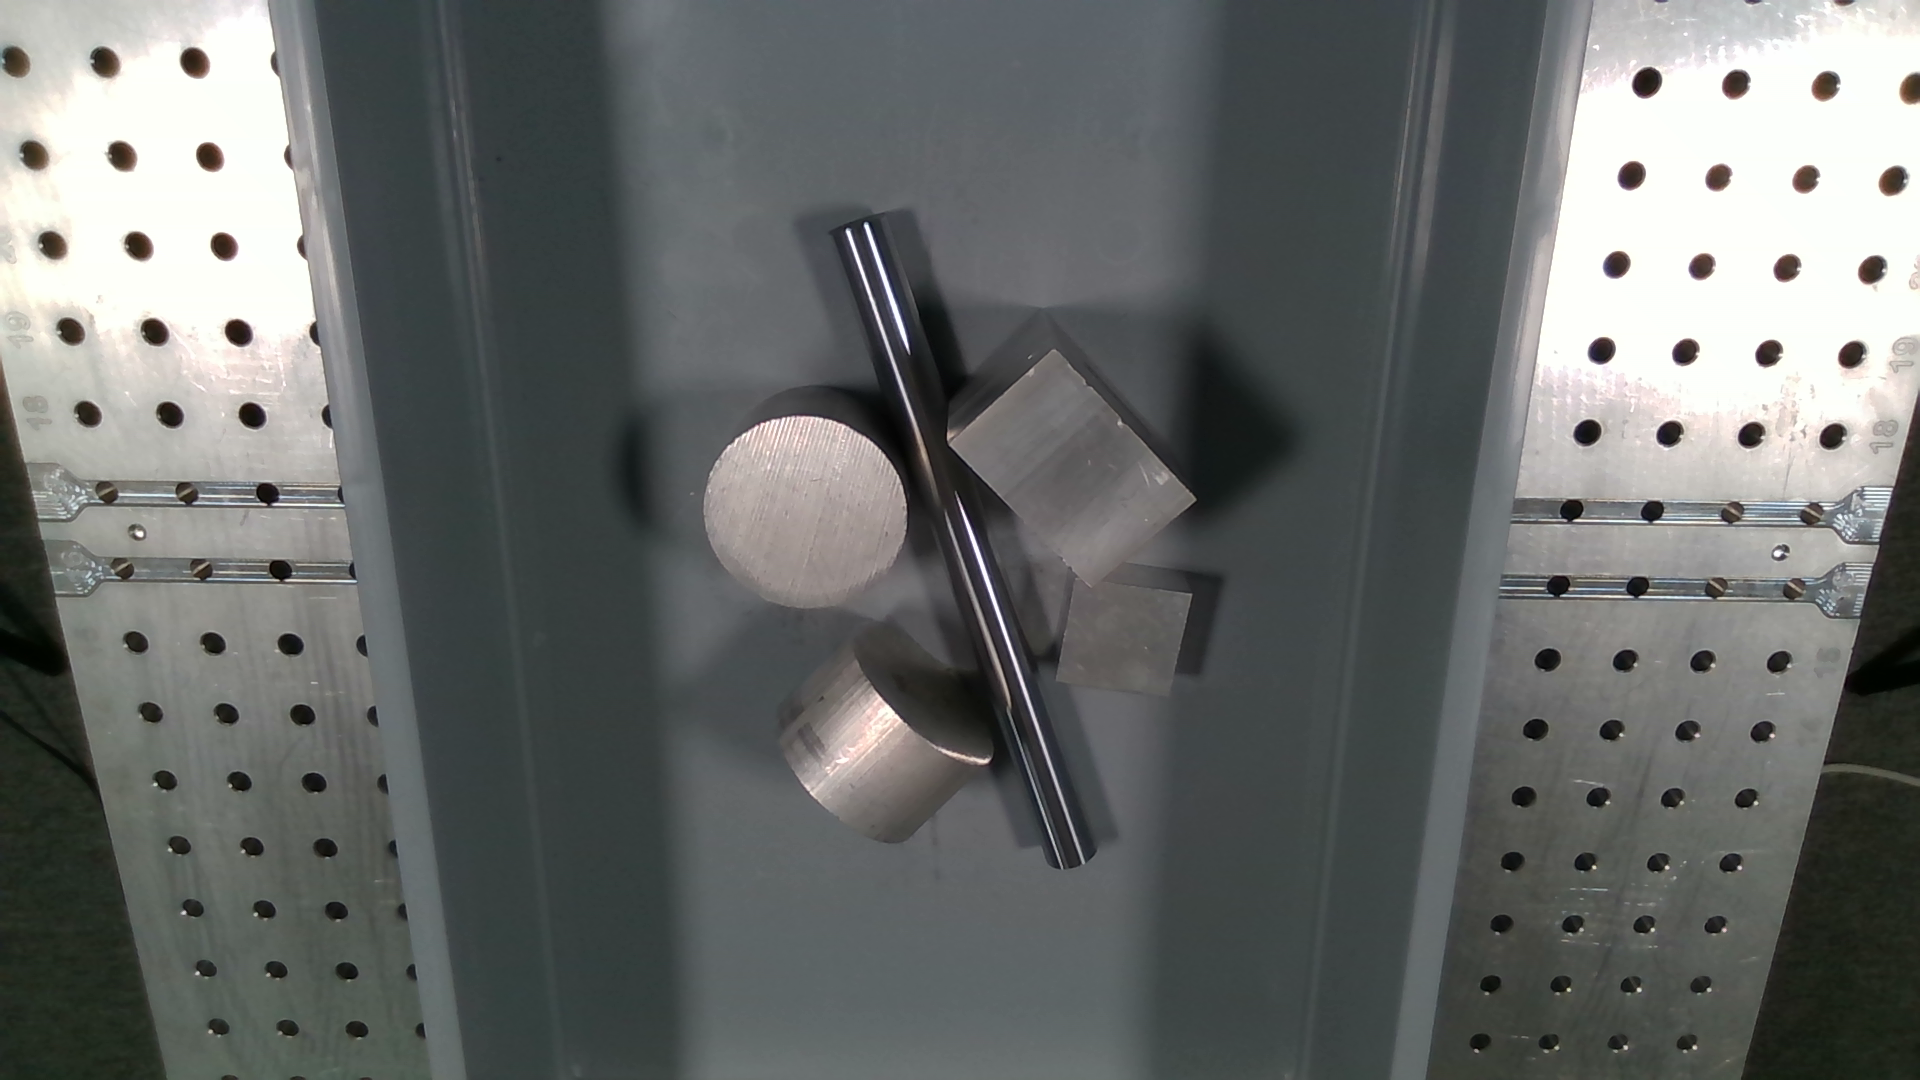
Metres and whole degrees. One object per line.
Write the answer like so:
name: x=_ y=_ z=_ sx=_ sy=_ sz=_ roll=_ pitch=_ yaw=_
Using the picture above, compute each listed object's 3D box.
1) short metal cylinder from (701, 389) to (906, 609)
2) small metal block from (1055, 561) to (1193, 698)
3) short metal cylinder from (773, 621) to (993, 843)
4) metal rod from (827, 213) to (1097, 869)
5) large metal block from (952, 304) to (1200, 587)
short metal cylinder: x=-0.061 y=-0.018 z=0.563 sx=0.080 sy=0.050 sz=0.080 roll=0 pitch=110 yaw=0
small metal block: x=0.070 y=0.037 z=0.597 sx=0.050 sy=0.025 sz=0.050 roll=8 pitch=110 yaw=-3
short metal cylinder: x=-0.032 y=0.081 z=0.585 sx=0.080 sy=0.080 sz=0.050 roll=41 pitch=105 yaw=-13
metal rod: x=0.005 y=0.010 z=0.588 sx=0.025 sy=0.025 sz=0.301 roll=-17 pitch=109 yaw=6
large metal block: x=0.043 y=-0.039 z=0.540 sx=0.050 sy=0.080 sz=0.080 roll=-42 pitch=105 yaw=14
